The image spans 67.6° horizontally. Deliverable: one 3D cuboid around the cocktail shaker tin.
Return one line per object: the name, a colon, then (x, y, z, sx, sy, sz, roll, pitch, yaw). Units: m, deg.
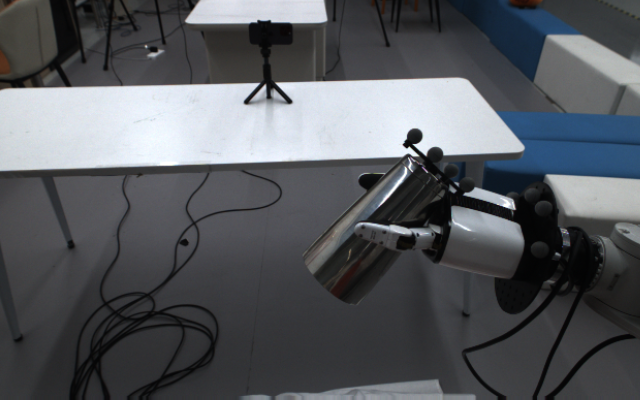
cocktail shaker tin: (0.070, 0.026, 0.570, 0.093, 0.170, 0.093, 41, 12, -11)
